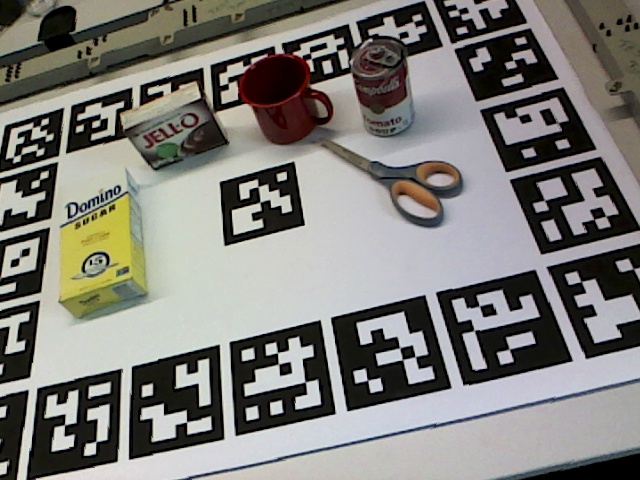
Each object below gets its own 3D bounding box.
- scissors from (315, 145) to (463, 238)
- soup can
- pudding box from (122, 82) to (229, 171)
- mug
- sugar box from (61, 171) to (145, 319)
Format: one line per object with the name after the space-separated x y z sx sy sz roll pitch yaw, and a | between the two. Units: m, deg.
0.074 -0.077 0.745 0.204 0.016 0.087 31 82 28 | scissors
0.073 -0.180 0.766 0.068 0.101 0.068 -8 57 12 | soup can
-0.189 -0.148 0.815 0.114 0.089 0.039 -23 63 1 | pudding box
-0.044 -0.182 0.803 0.118 0.081 0.093 37 77 31 | mug
-0.278 0.003 0.785 0.093 0.045 0.177 -18 59 7 | sugar box
